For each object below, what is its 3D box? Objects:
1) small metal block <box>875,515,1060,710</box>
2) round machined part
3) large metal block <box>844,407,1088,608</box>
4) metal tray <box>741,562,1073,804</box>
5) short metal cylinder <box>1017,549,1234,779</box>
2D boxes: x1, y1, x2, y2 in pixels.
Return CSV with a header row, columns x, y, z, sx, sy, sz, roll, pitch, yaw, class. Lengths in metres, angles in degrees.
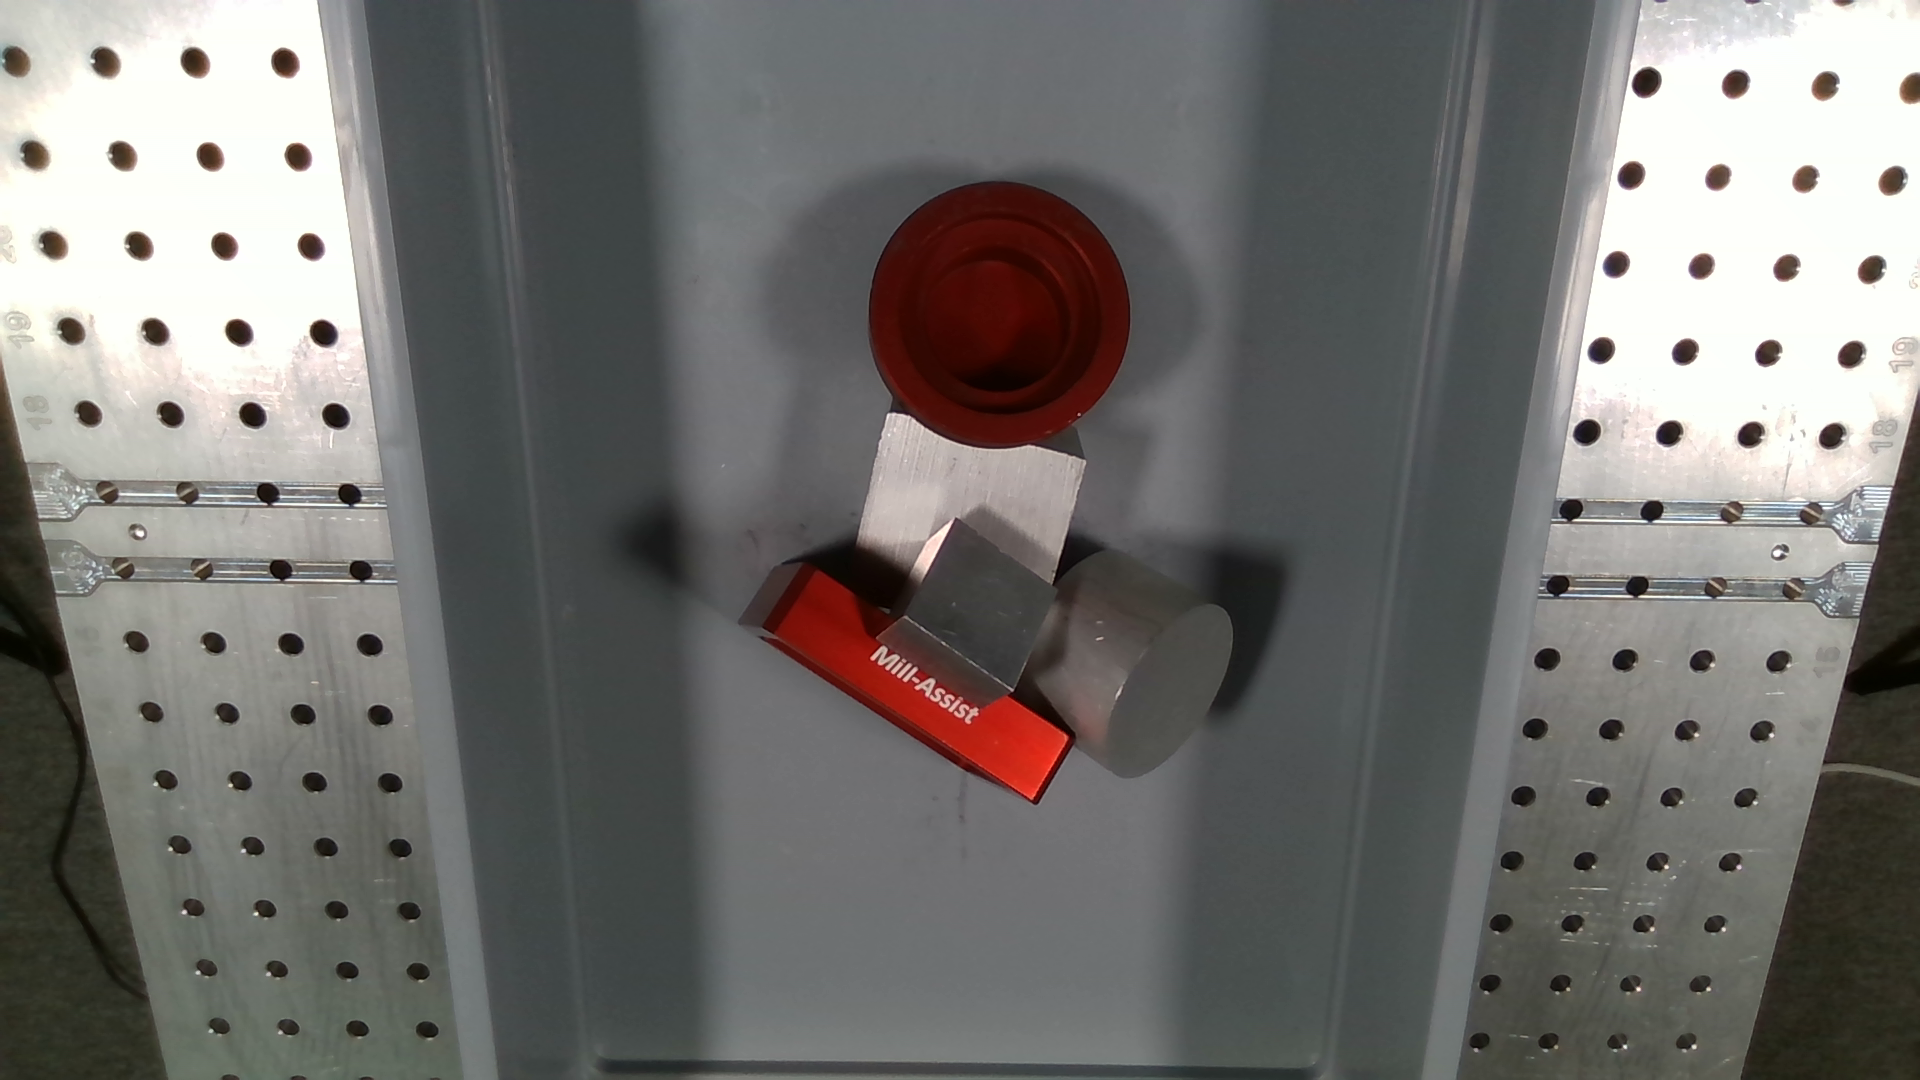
x,y,z,sx,sy,sz,roll,pitch,yaw,class
0.003,0.028,0.525,0.050,0.050,0.025,35,145,-12,small metal block
0.013,-0.084,0.531,0.098,0.042,0.098,0,87,-5,round machined part
0.001,-0.013,0.566,0.080,0.050,0.080,14,110,-5,large metal block
-0.025,0.058,0.569,0.130,0.090,0.030,34,79,-12,metal tray
0.068,0.051,0.566,0.050,0.080,0.080,32,114,36,short metal cylinder
